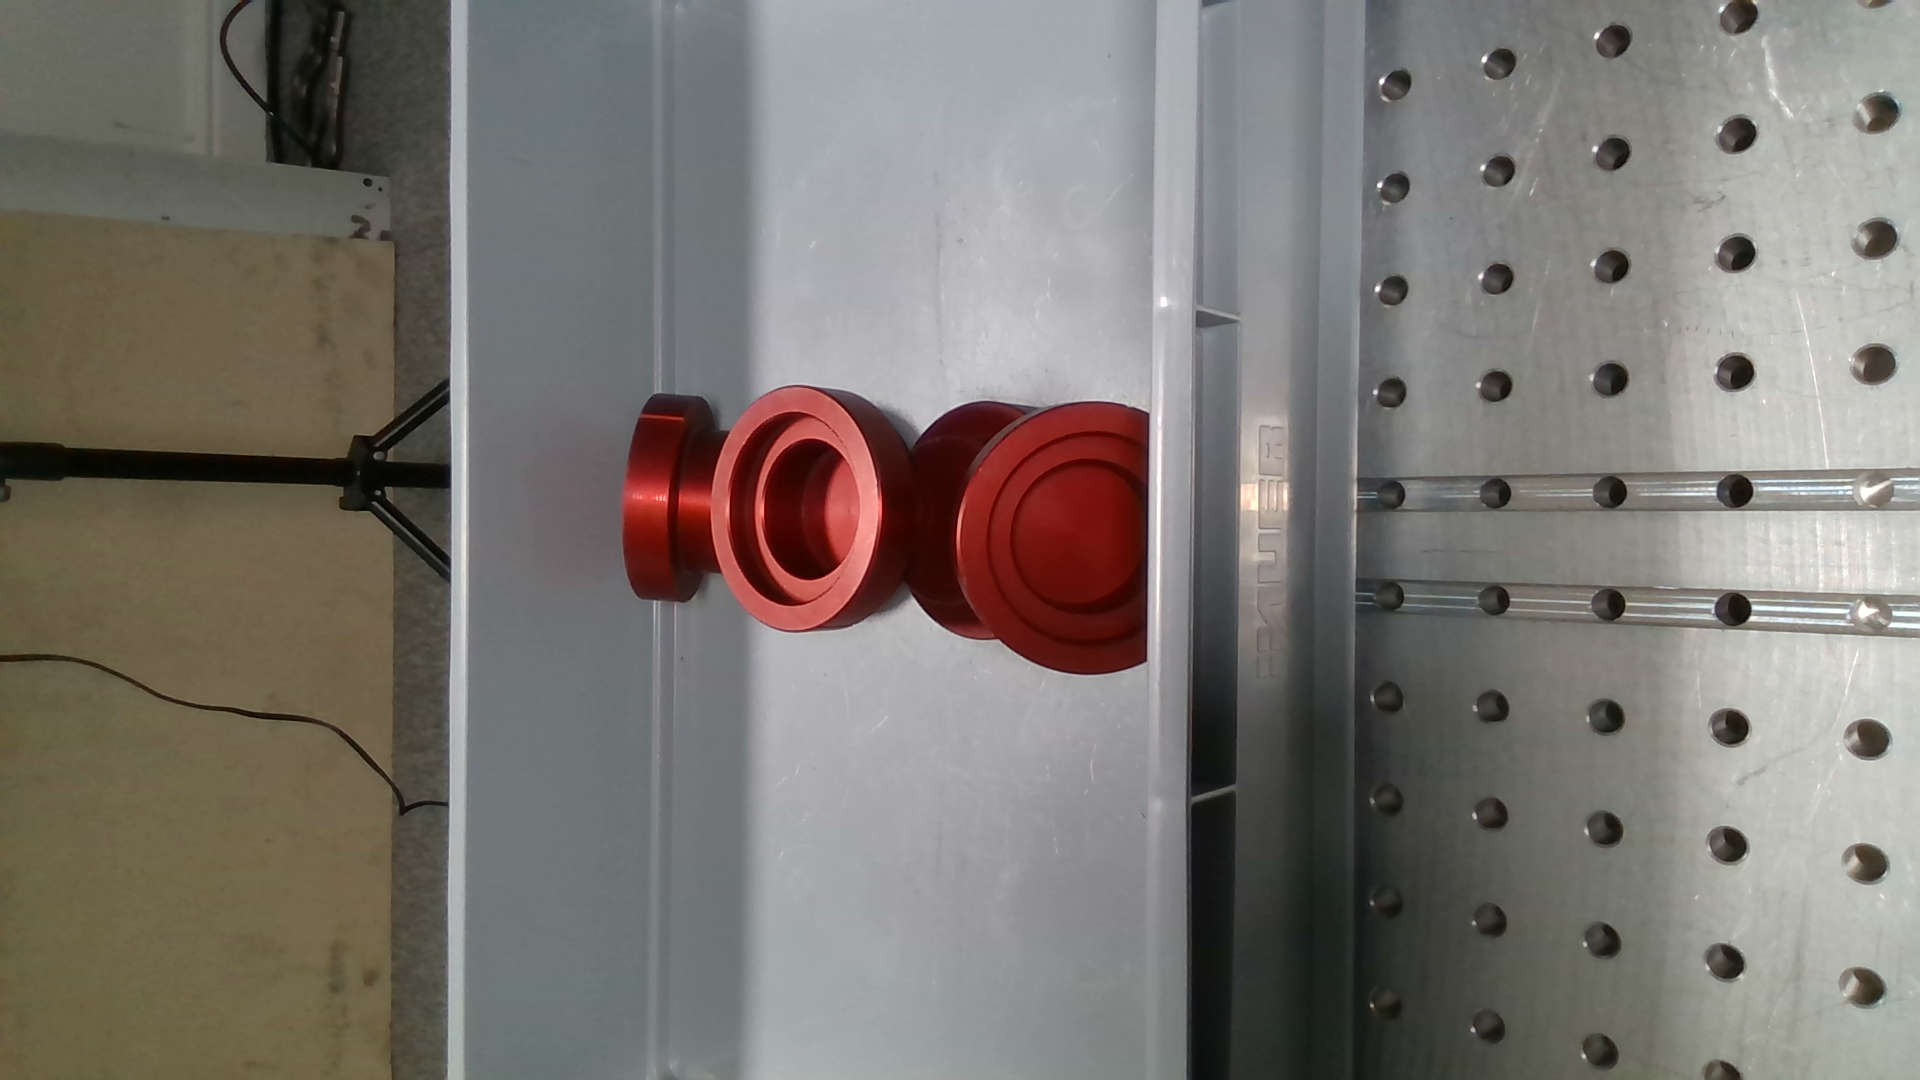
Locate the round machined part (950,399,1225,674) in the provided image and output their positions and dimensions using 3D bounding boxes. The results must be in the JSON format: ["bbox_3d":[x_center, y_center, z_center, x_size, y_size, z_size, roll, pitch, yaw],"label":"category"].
[{"bbox_3d":[0.044,-0.003,0.508,0.042,0.098,0.098,-142,57,-81],"label":"round machined part"}]

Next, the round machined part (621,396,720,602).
[{"bbox_3d":[-0.125,-0.019,0.652,0.042,0.098,0.098,5,94,2],"label":"round machined part"}]

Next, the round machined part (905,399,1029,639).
[{"bbox_3d":[0.007,-0.008,0.562,0.098,0.042,0.098,0,91,40],"label":"round machined part"}]

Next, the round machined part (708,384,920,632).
[{"bbox_3d":[-0.055,-0.013,0.559,0.098,0.042,0.098,0,91,40],"label":"round machined part"}]

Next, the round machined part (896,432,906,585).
[{"bbox_3d":[-0.068,-0.014,0.626,0.098,0.042,0.098,0,91,40],"label":"round machined part"}]
